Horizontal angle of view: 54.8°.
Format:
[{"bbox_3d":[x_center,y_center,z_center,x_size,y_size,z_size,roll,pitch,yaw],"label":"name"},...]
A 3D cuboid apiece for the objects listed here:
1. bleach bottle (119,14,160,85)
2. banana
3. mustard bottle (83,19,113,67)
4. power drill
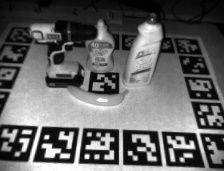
[{"bbox_3d":[0.084,-0.104,0.669,0.103,0.251,0.067,-4,53,-8],"label":"bleach bottle"},{"bbox_3d":[-0.049,0.014,0.683,0.197,0.039,0.074,5,56,0],"label":"banana"},{"bbox_3d":[-0.045,-0.144,0.713,0.096,0.192,0.058,4,51,-3],"label":"mustard bottle"},{"bbox_3d":[-0.147,-0.114,0.654,0.185,0.187,0.057,2,45,-7],"label":"power drill"}]
